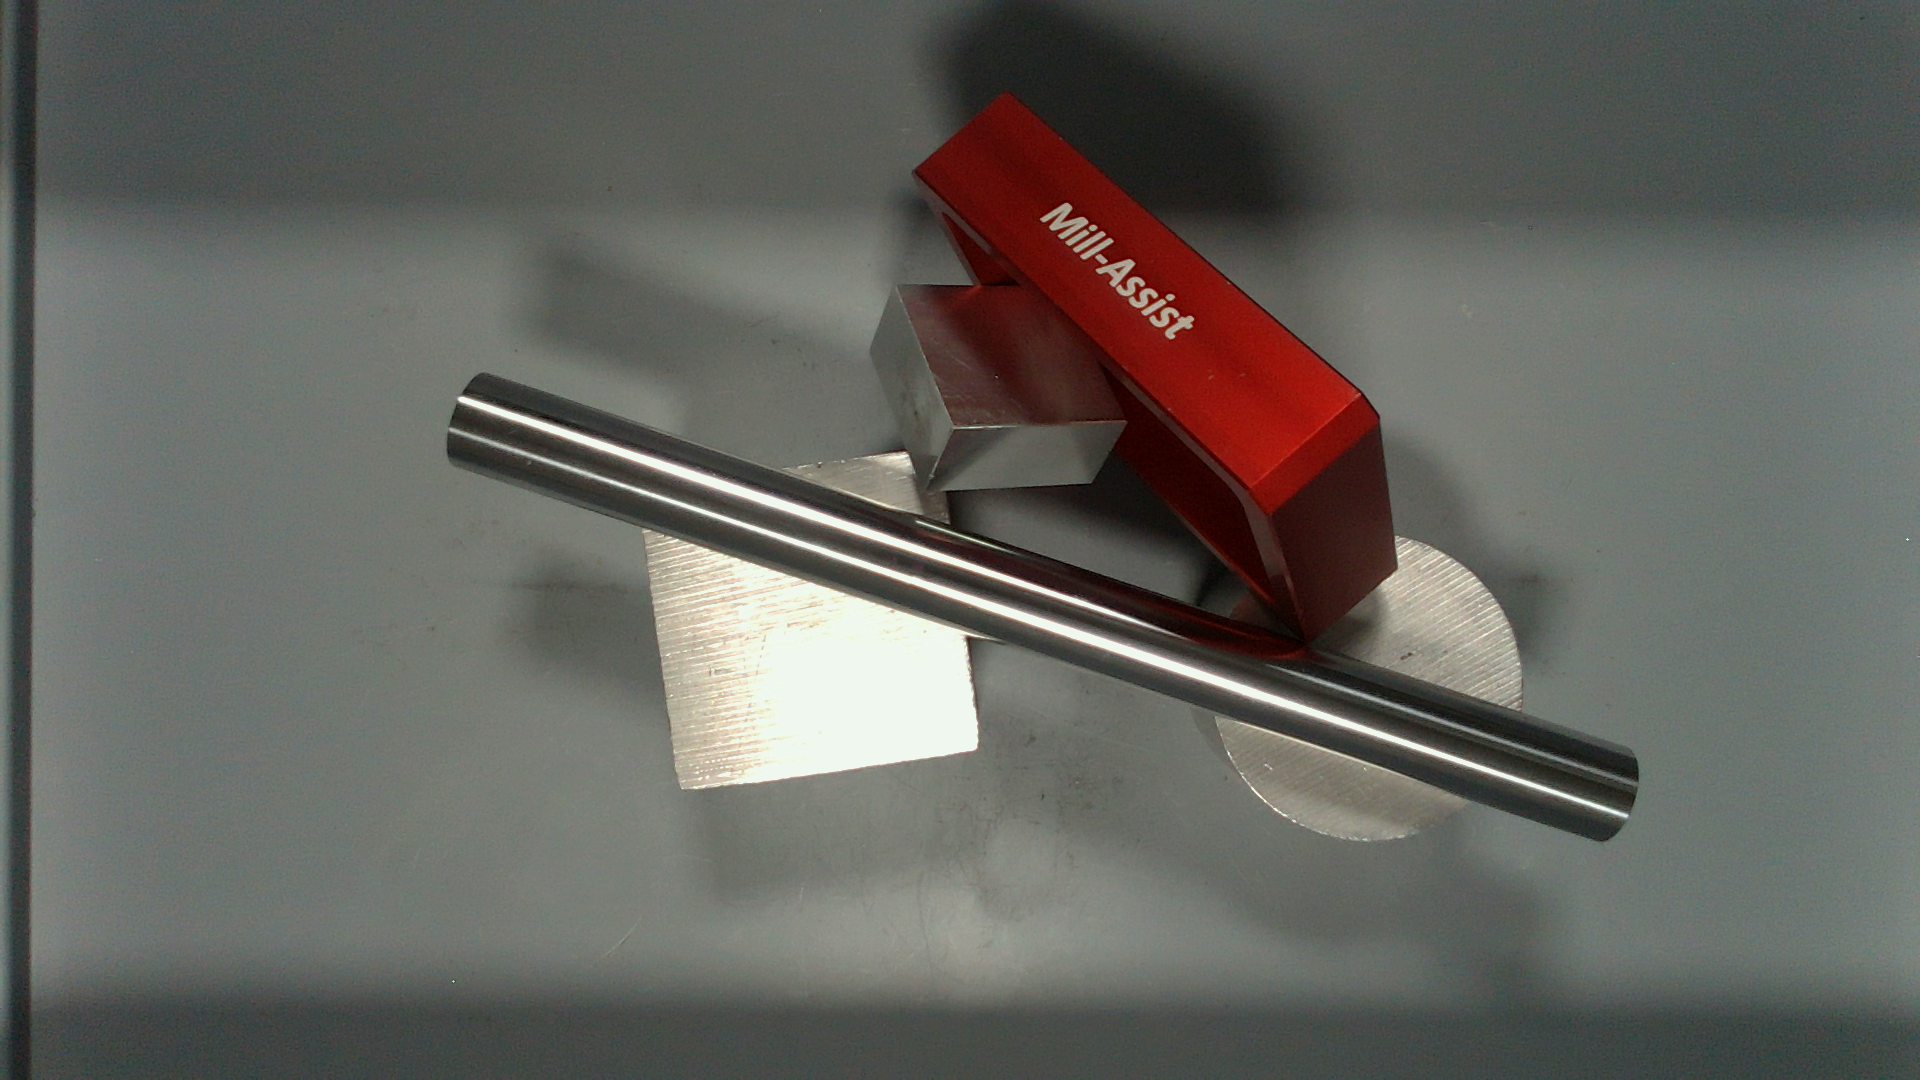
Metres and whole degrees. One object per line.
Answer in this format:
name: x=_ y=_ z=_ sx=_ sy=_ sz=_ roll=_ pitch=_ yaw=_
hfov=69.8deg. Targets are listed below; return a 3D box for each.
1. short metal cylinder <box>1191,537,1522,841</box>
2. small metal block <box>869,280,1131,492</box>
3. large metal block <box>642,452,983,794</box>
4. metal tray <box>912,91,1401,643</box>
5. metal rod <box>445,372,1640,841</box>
short metal cylinder: x=0.106 y=0.038 z=0.382 sx=0.080 sy=0.050 sz=0.080 roll=0 pitch=90 yaw=0
small metal block: x=0.009 y=-0.041 z=0.361 sx=0.050 sy=0.025 sz=0.050 roll=-4 pitch=54 yaw=-26
large metal block: x=-0.039 y=0.021 z=0.382 sx=0.080 sy=0.050 sz=0.080 roll=-8 pitch=90 yaw=0
metal tray: x=0.049 y=-0.041 z=0.337 sx=0.030 sy=0.090 sz=0.130 roll=-41 pitch=60 yaw=-1
metal rod: x=0.020 y=0.017 z=0.344 sx=0.300 sy=0.025 sz=0.025 roll=18 pitch=90 yaw=0
